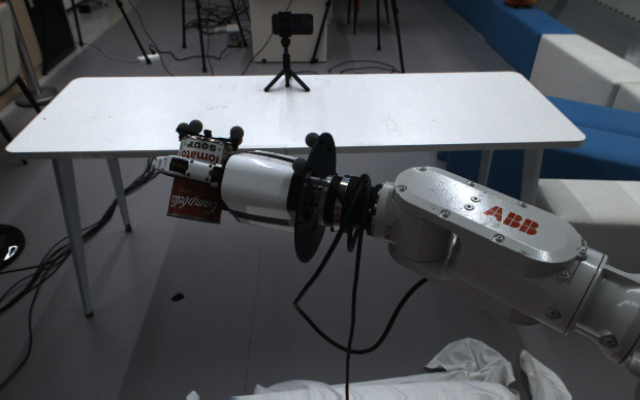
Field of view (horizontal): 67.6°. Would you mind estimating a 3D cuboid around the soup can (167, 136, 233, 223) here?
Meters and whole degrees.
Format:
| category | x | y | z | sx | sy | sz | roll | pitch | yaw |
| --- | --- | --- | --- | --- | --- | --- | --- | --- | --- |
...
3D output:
| category | x | y | z | sx | sy | sz | roll | pitch | yaw |
| --- | --- | --- | --- | --- | --- | --- | --- | --- | --- |
| soup can | -0.152 | -0.023 | 0.617 | 0.067 | 0.101 | 0.067 | 8 | -6 | 1 |
